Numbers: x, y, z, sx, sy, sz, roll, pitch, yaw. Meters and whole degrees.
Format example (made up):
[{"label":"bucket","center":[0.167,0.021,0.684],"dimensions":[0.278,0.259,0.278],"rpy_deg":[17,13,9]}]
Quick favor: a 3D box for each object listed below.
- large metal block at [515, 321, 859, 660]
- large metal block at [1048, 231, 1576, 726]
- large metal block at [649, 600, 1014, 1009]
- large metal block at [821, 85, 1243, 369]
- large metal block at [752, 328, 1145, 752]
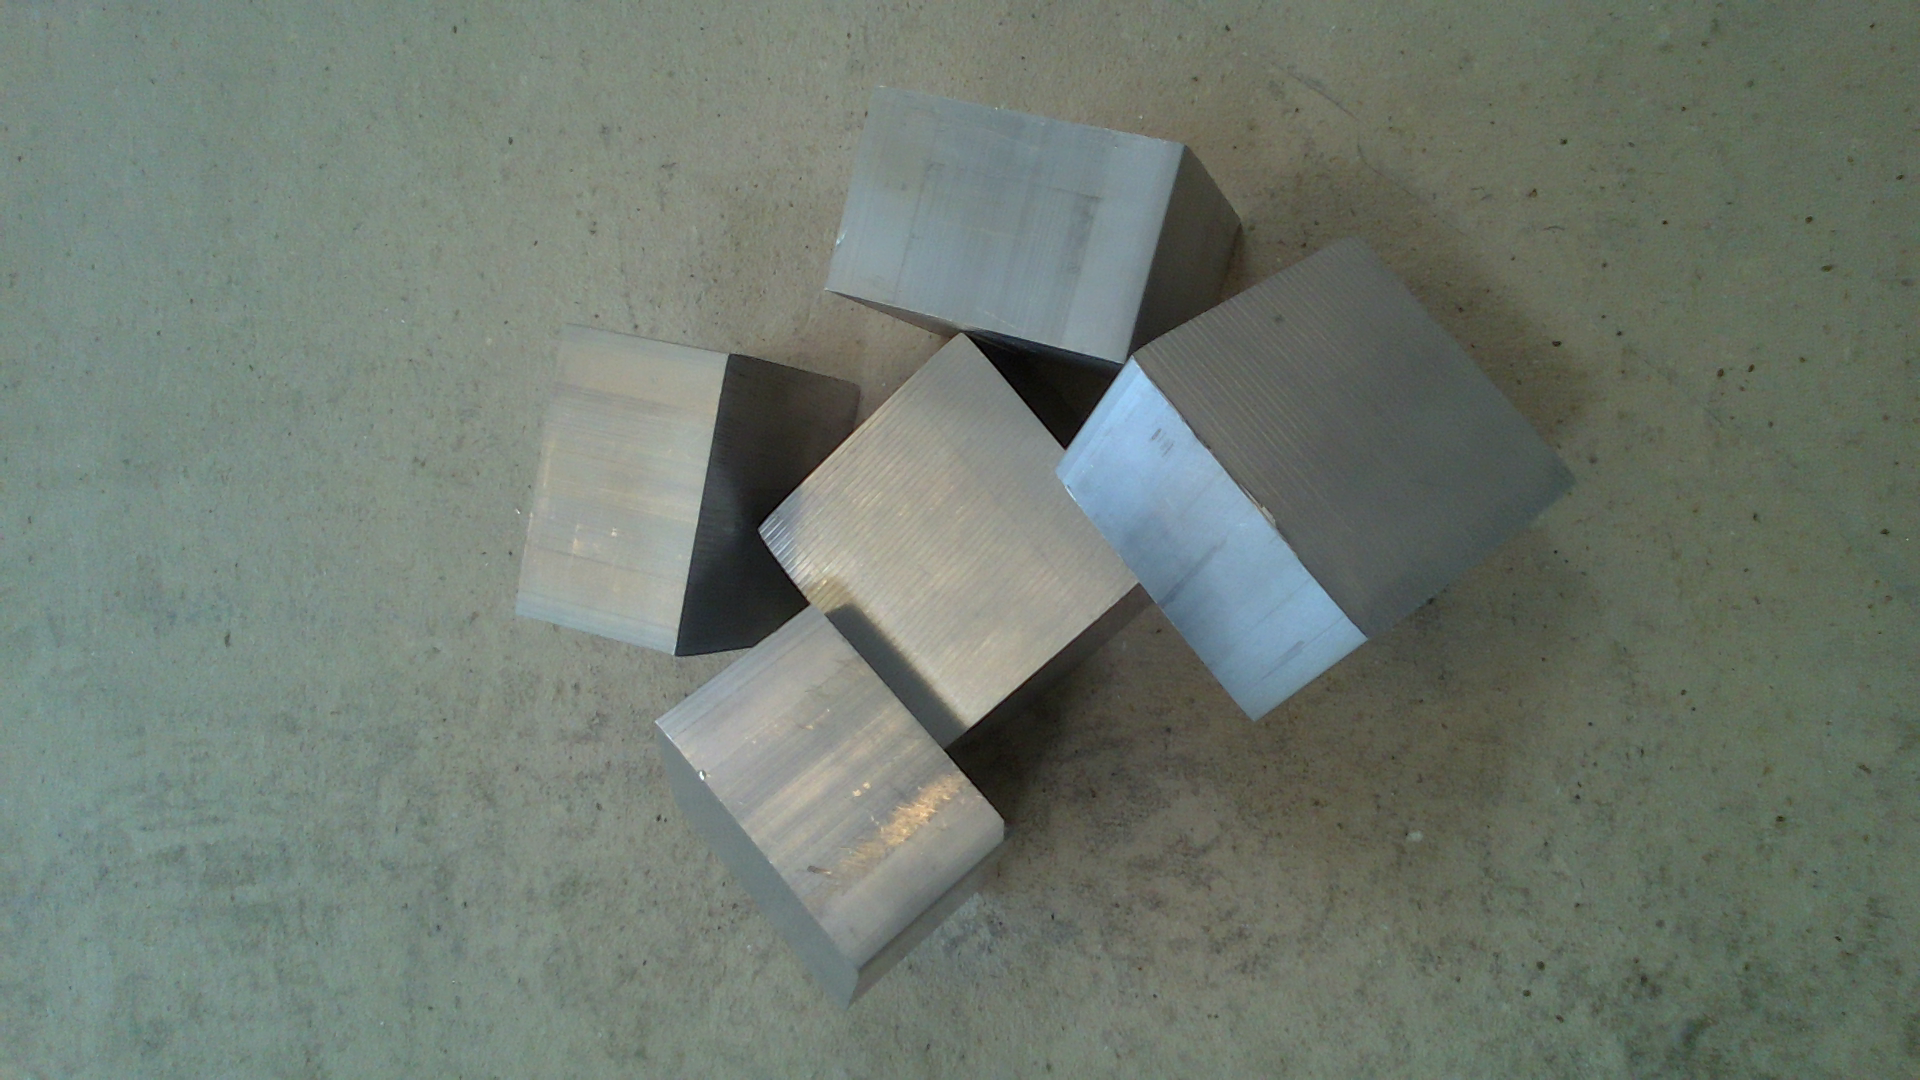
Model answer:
[{"label":"large metal block","center":[-0.075,-0.014,0.395],"dimensions":[0.050,0.080,0.080],"rpy_deg":[13,95,19]},{"label":"large metal block","center":[0.083,-0.016,0.331],"dimensions":[0.080,0.080,0.050],"rpy_deg":[53,150,13]},{"label":"large metal block","center":[-0.037,0.075,0.374],"dimensions":[0.050,0.080,0.080],"rpy_deg":[-37,75,-22]},{"label":"large metal block","center":[0.022,-0.075,0.359],"dimensions":[0.080,0.080,0.050],"rpy_deg":[17,96,19]},{"label":"large metal block","center":[0.005,0.001,0.379],"dimensions":[0.080,0.050,0.080],"rpy_deg":[-43,78,15]}]
